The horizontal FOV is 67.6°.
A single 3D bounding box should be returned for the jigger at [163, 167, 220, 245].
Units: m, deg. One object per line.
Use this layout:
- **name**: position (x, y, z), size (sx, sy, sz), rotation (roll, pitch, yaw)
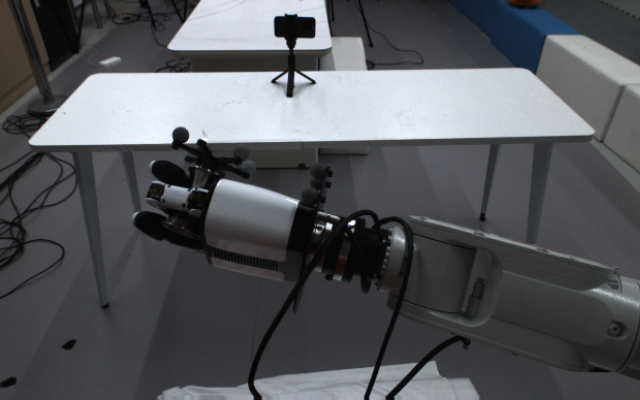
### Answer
- **jigger**: position (-0.129, 0.004, 0.513), size (0.043, 0.043, 0.071), rotation (12, 71, 14)
